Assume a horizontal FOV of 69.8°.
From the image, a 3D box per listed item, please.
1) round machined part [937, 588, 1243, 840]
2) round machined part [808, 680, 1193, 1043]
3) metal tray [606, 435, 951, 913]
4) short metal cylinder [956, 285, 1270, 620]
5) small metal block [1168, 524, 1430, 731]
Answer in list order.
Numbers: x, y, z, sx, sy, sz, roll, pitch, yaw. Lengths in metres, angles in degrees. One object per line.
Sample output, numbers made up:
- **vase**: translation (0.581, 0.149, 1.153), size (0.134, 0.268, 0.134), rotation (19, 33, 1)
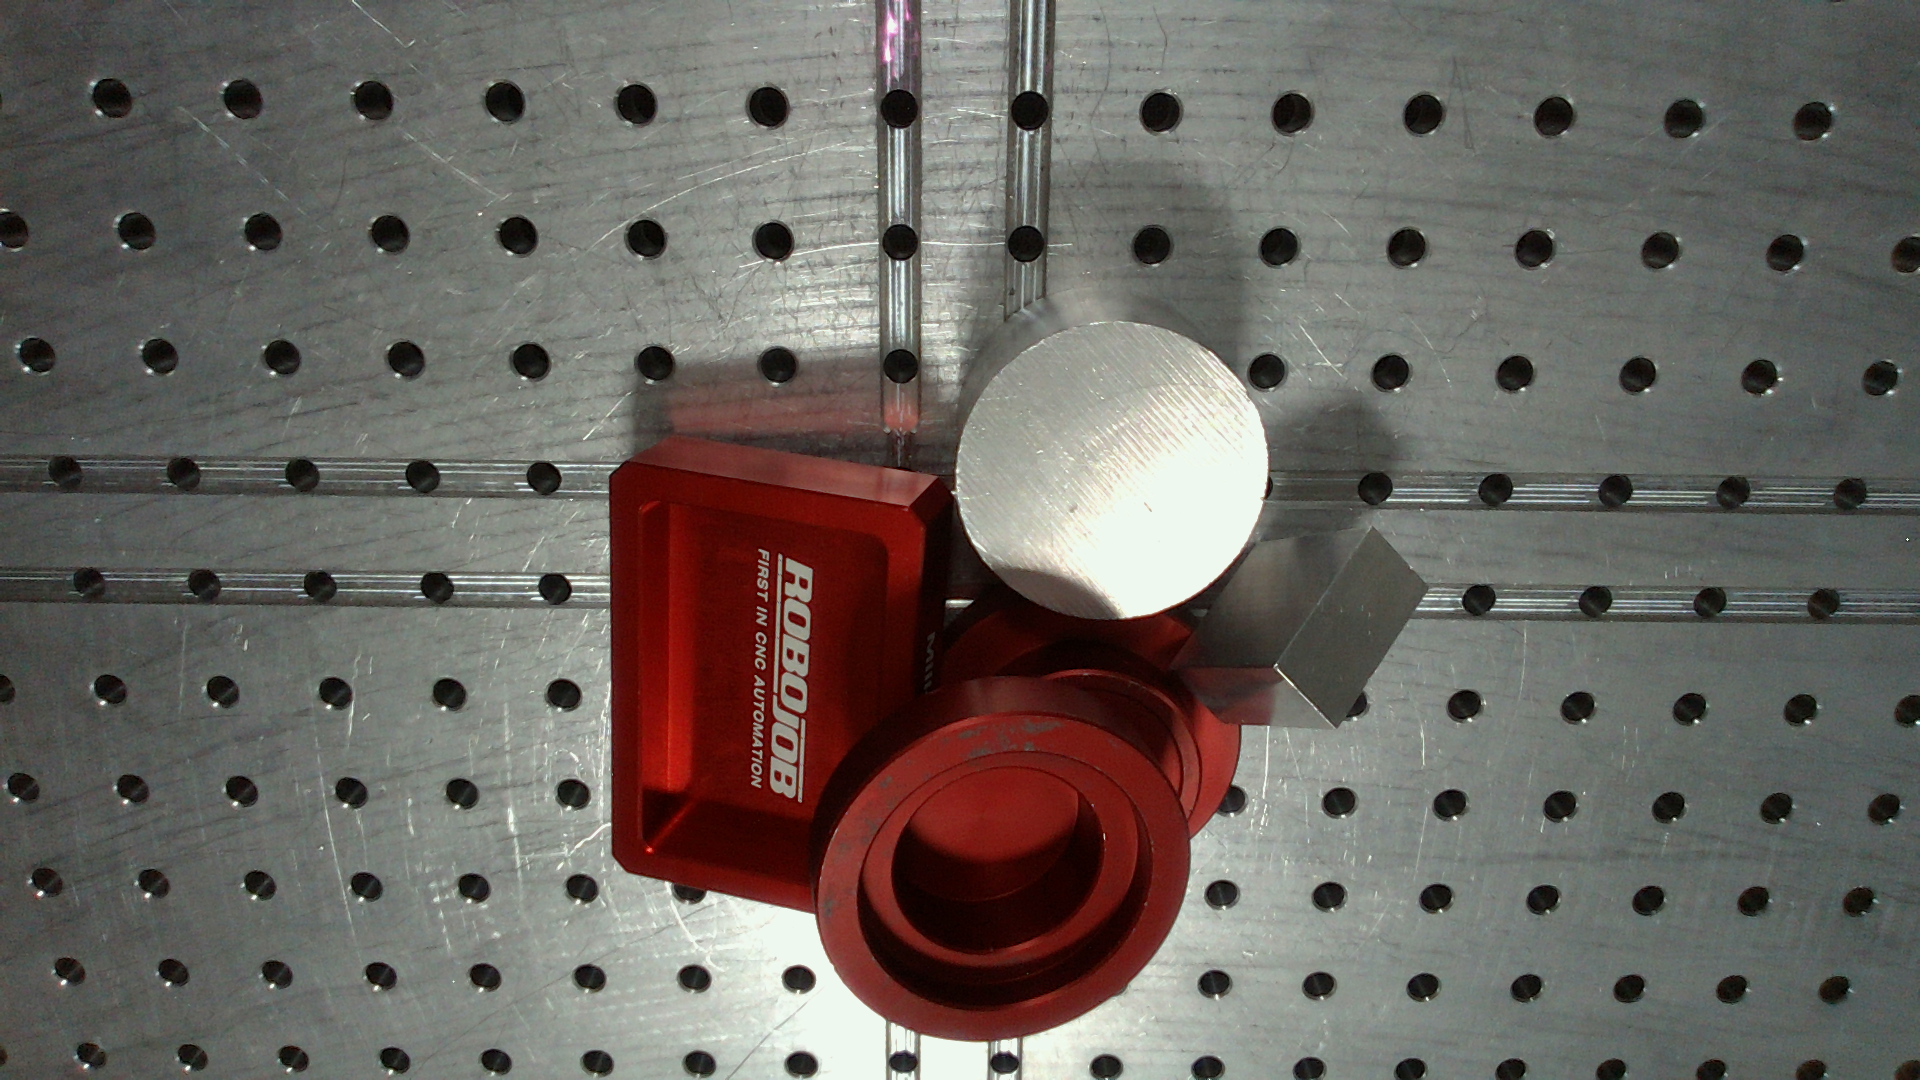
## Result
- **round machined part**: translation (0.035, 0.061, 0.409), size (0.098, 0.042, 0.098), rotation (0, 110, 0)
- **round machined part**: translation (0.009, 0.081, 0.366), size (0.098, 0.042, 0.098), rotation (-4, 112, -10)
- **metal tray**: translation (-0.054, 0.041, 0.397), size (0.090, 0.030, 0.130), rotation (9, 111, 12)
- **short metal cylinder**: translation (0.039, -0.025, 0.374), size (0.080, 0.050, 0.080), rotation (0, 110, 0)
- **small metal block**: translation (0.093, 0.025, 0.382), size (0.025, 0.050, 0.050), rotation (45, 69, -14)
